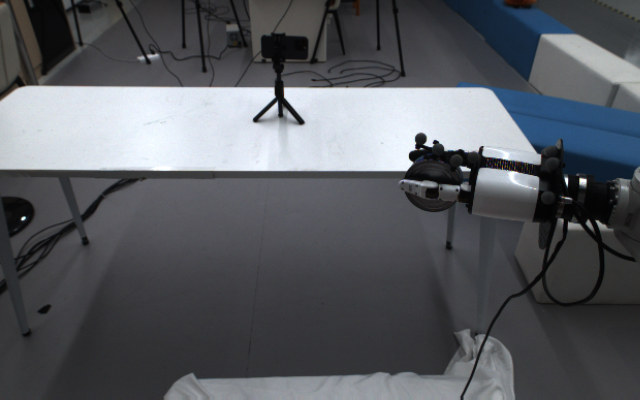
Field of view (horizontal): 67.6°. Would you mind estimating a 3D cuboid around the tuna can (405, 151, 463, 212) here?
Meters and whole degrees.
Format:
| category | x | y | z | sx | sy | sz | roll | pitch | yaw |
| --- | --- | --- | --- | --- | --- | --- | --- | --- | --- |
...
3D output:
| category | x | y | z | sx | sy | sz | roll | pitch | yaw |
| --- | --- | --- | --- | --- | --- | --- | --- | --- | --- |
| tuna can | 0.174 | -0.029 | 0.736 | 0.085 | 0.085 | 0.034 | 16 | 29 | 19 |
